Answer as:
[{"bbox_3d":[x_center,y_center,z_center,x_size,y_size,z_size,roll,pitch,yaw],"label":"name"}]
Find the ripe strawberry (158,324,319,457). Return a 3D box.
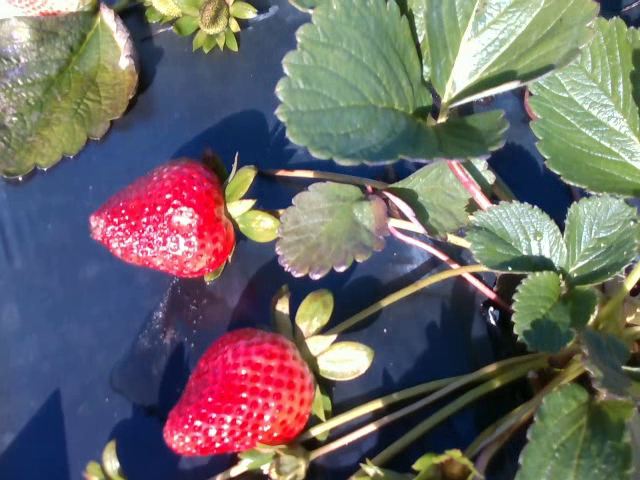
[{"bbox_3d":[-0.024,0.045,0.170,0.049,0.039,0.042,-22,20,-37],"label":"ripe strawberry"}]

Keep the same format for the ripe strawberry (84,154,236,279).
[{"bbox_3d":[-0.056,-0.009,0.209,0.050,0.051,0.045,-1,-24,-24],"label":"ripe strawberry"}]
